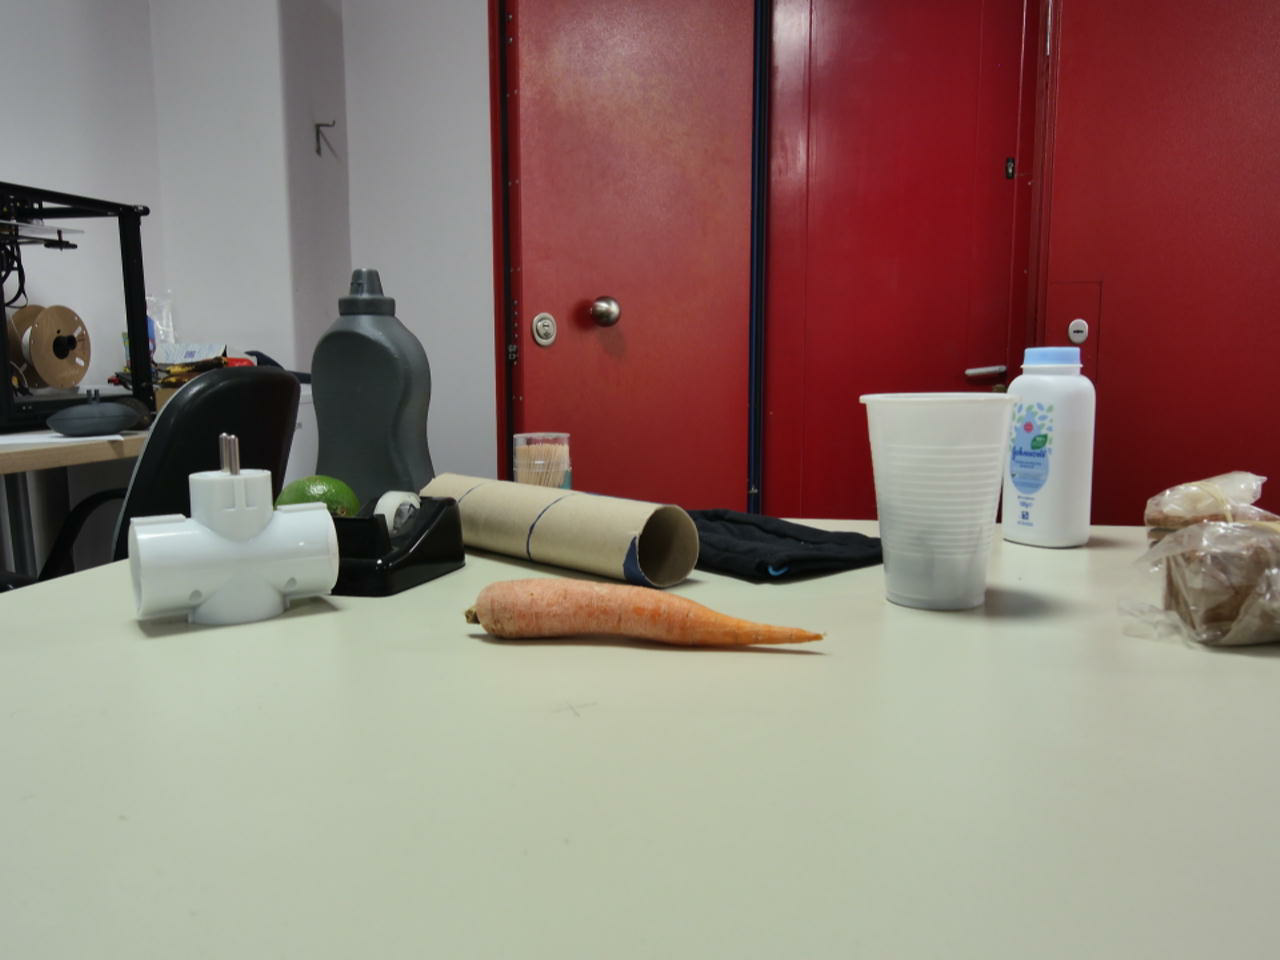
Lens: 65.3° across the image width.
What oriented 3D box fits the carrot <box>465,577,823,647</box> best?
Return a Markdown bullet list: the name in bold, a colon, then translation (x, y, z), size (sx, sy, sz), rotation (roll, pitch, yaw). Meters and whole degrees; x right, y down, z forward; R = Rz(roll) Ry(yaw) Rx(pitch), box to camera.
- **carrot**: translation (-0.001, 0.060, 0.450), size (0.163, 0.029, 0.031), rotation (1, 4, 12)
